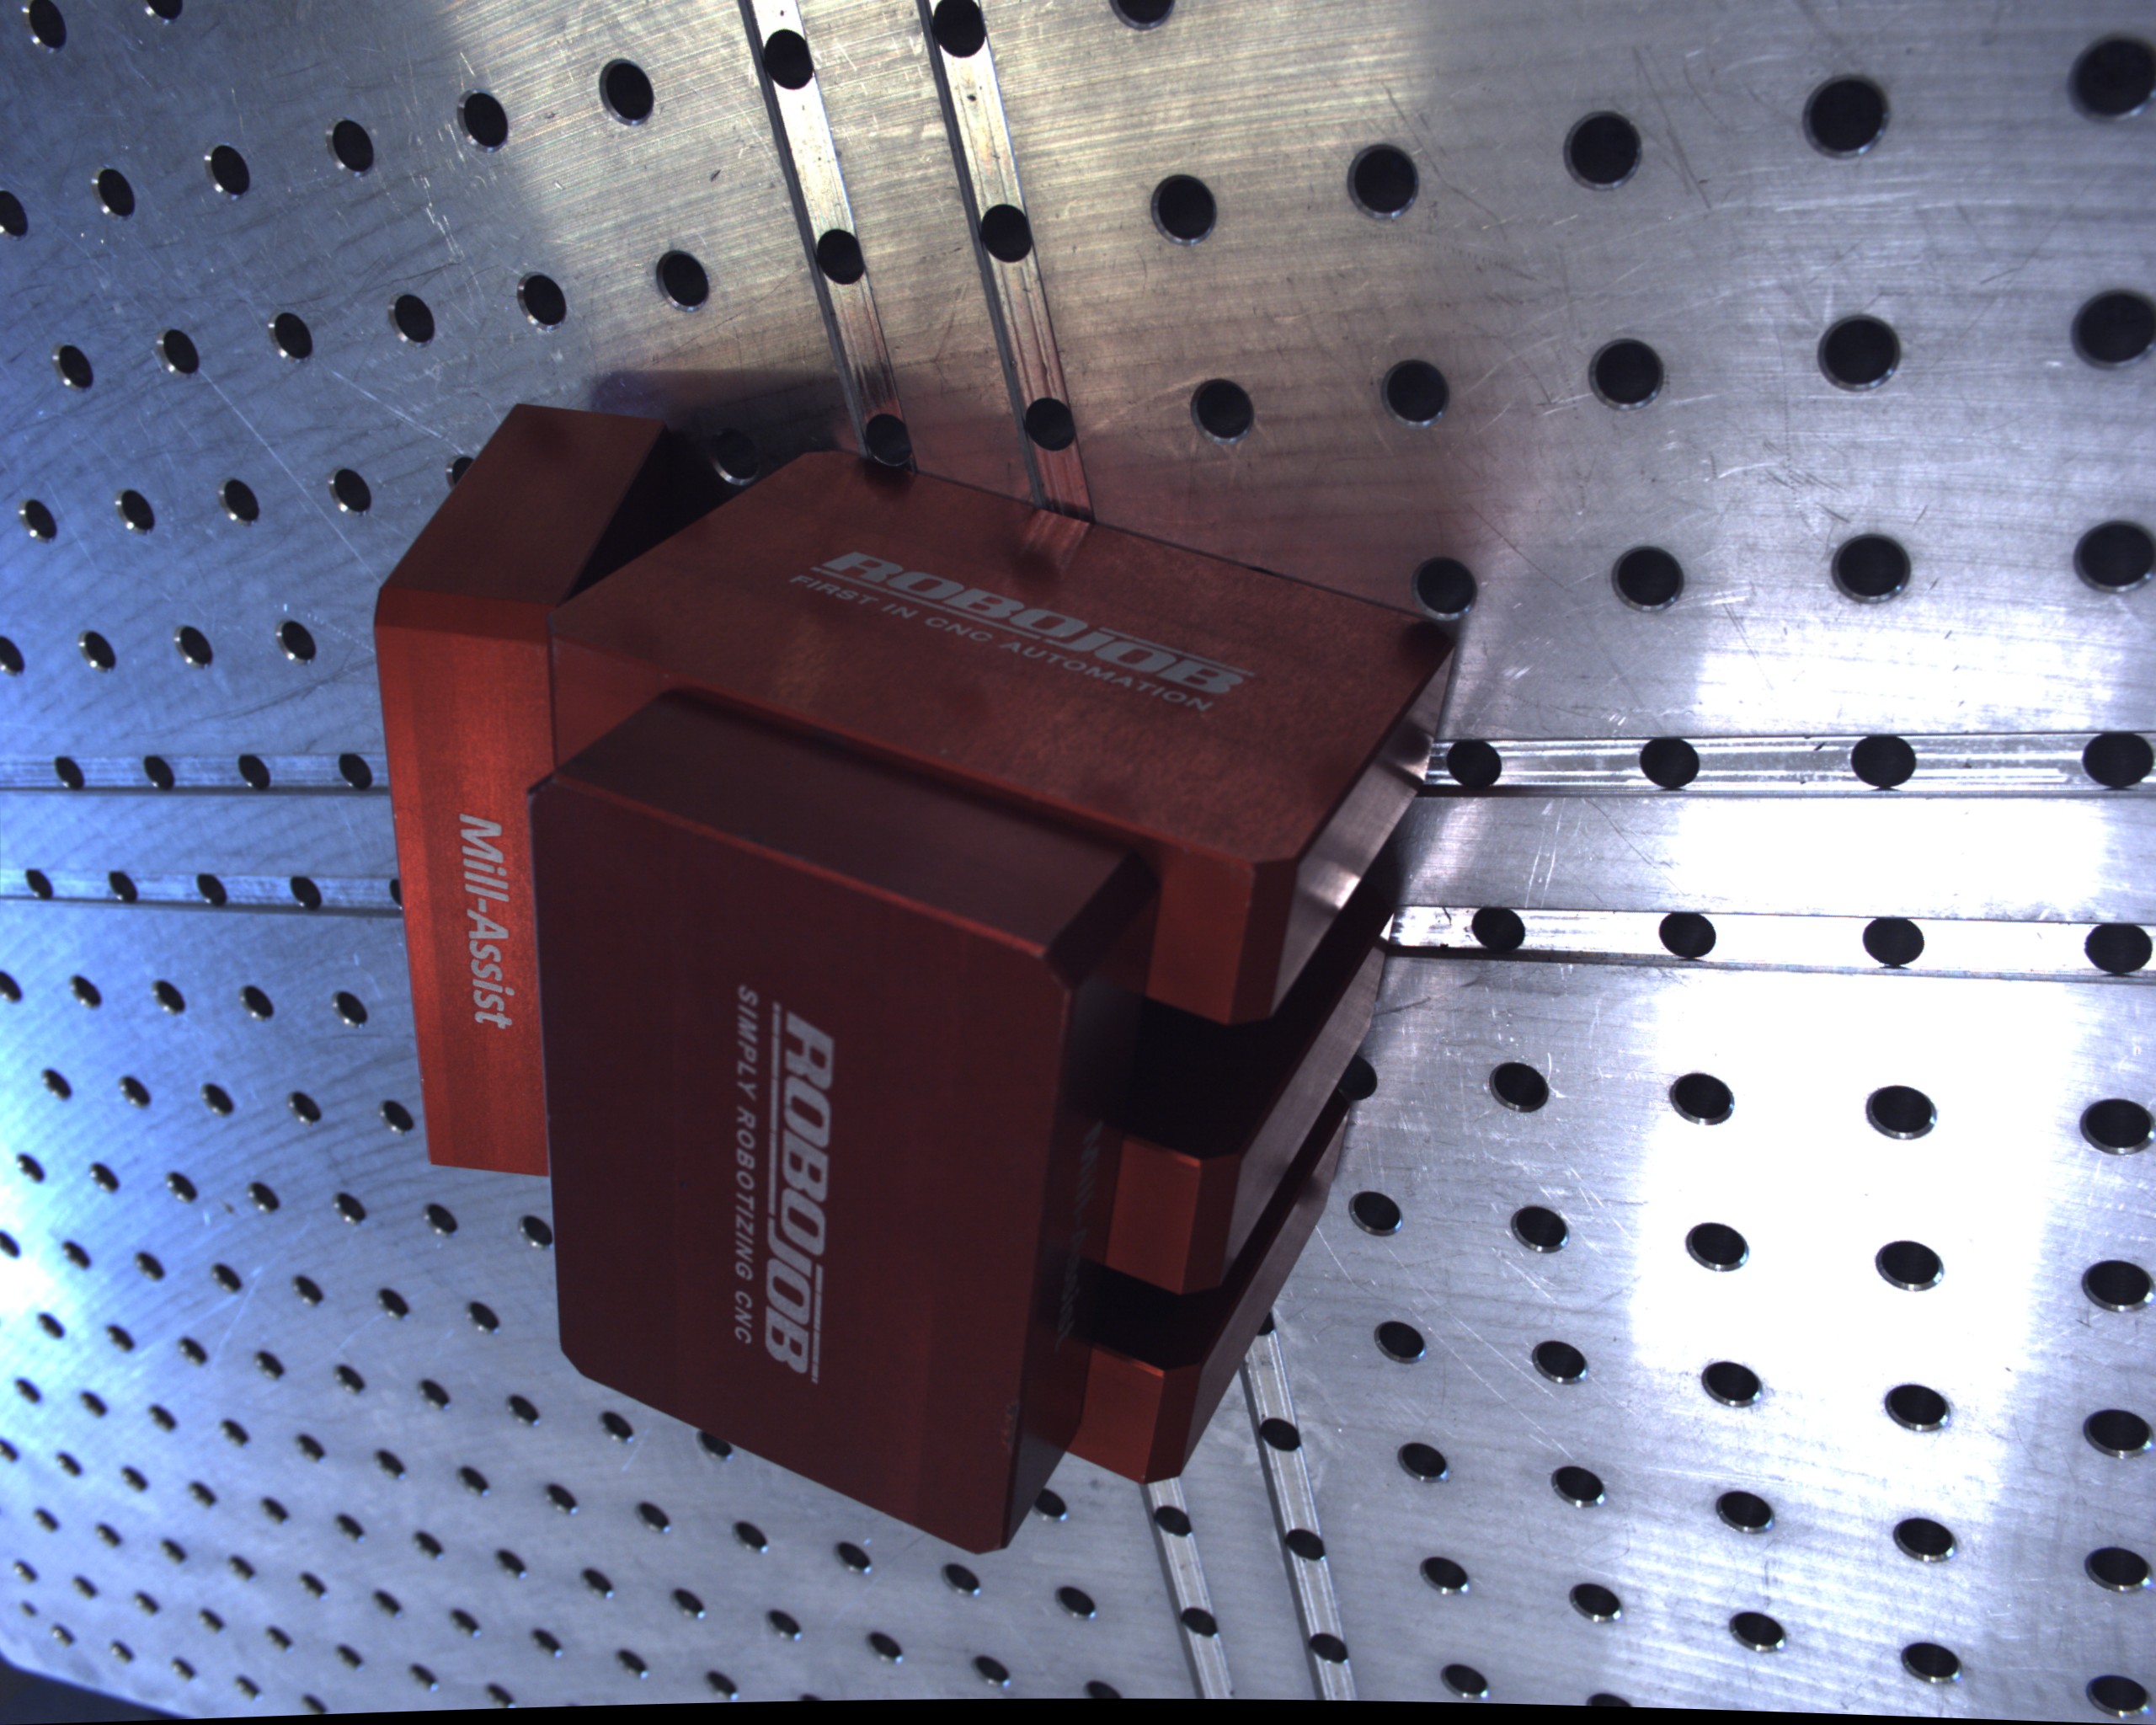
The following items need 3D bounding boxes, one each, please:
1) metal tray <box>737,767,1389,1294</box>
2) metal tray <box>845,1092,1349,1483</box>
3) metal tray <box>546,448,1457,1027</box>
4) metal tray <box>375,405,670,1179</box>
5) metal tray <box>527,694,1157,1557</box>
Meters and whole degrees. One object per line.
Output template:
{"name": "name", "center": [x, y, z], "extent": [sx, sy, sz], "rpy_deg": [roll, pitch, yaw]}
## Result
{"name": "metal tray", "center": [-0.018, 0.022, 0.391], "extent": [0.130, 0.090, 0.030], "rpy_deg": [18, 124, 16]}
{"name": "metal tray", "center": [-0.022, 0.059, 0.418], "extent": [0.130, 0.090, 0.030], "rpy_deg": [19, 126, 16]}
{"name": "metal tray", "center": [-0.012, -0.027, 0.358], "extent": [0.130, 0.090, 0.030], "rpy_deg": [19, 126, 17]}
{"name": "metal tray", "center": [-0.104, -0.013, 0.413], "extent": [0.030, 0.090, 0.129], "rpy_deg": [7, 124, -1]}
{"name": "metal tray", "center": [-0.041, 0.046, 0.341], "extent": [0.090, 0.030, 0.129], "rpy_deg": [19, 126, 17]}
